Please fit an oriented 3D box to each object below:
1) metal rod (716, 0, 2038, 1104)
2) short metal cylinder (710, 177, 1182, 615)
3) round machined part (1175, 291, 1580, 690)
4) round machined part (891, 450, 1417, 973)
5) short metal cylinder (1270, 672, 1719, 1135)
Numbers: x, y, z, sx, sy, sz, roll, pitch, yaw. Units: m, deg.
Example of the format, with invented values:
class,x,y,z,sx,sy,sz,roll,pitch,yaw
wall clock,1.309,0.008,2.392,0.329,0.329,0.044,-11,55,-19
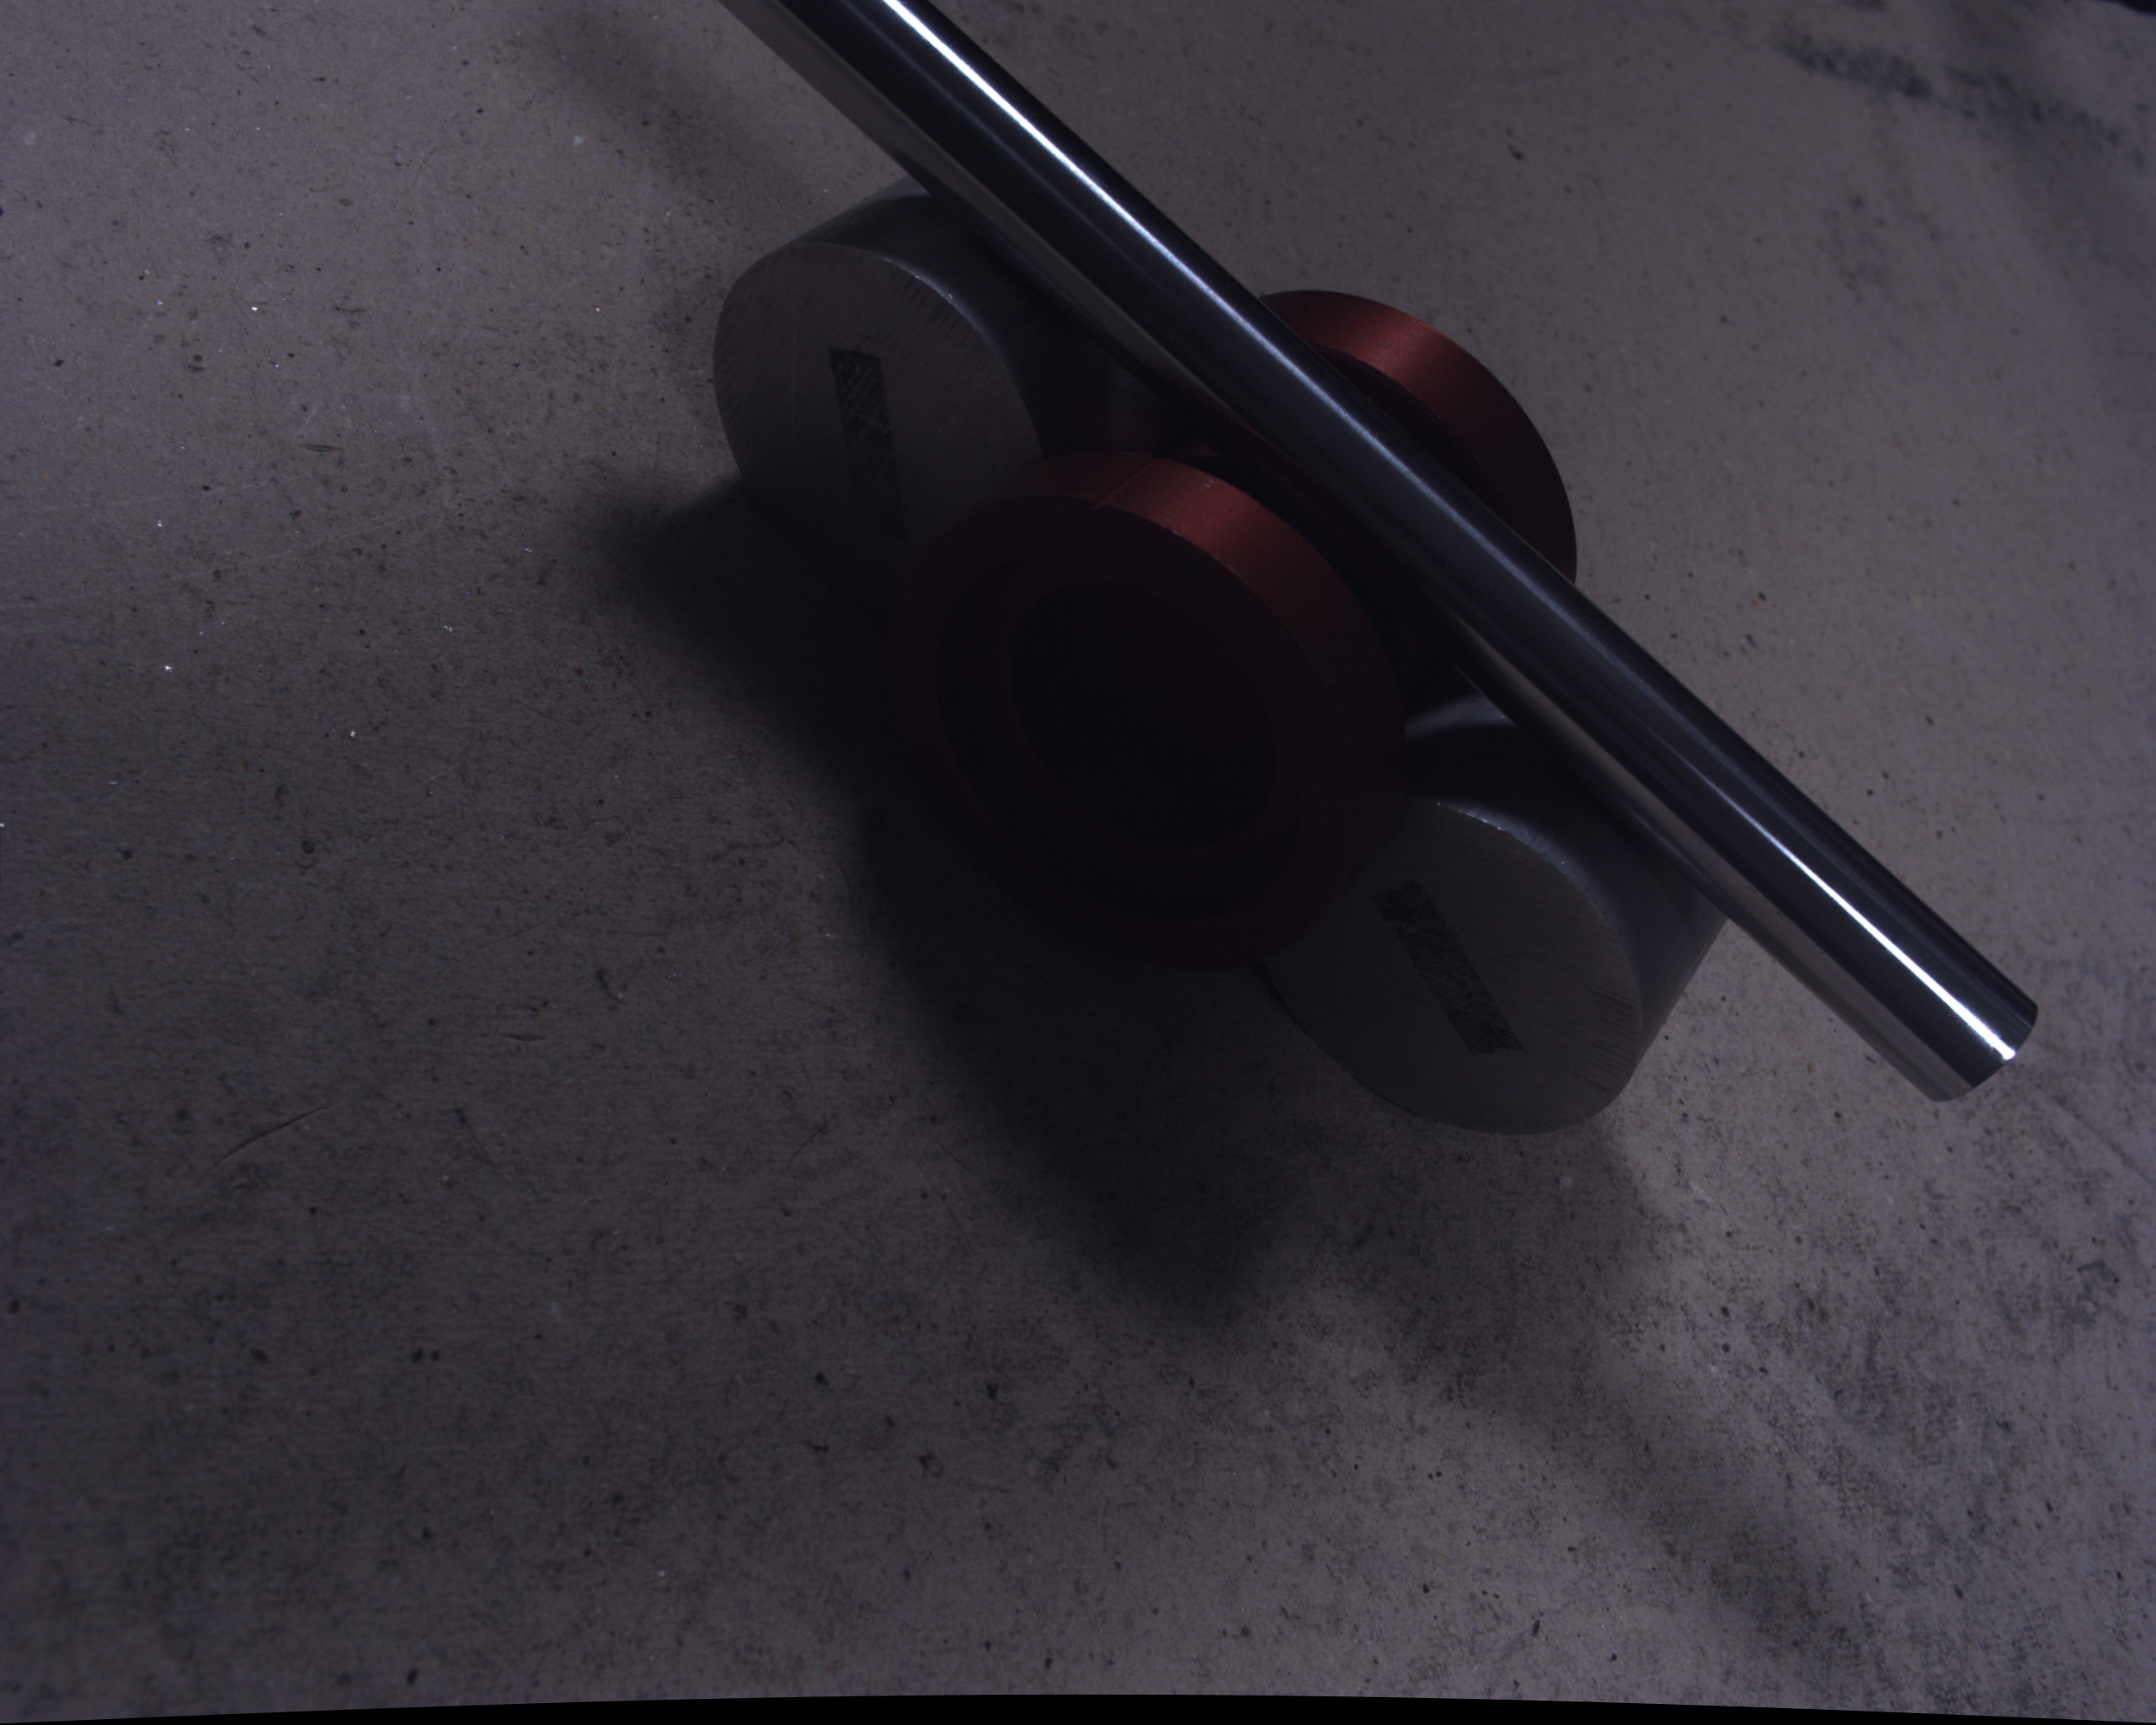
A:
class,x,y,z,sx,sy,sz,roll,pitch,yaw
metal rod,0.050,-0.067,0.373,0.300,0.025,0.025,42,51,0
short metal cylinder,-0.025,-0.094,0.415,0.080,0.080,0.050,43,51,1
round machined part,0.047,-0.062,0.424,0.098,0.098,0.042,43,55,1
round machined part,0.017,-0.031,0.387,0.098,0.097,0.042,43,47,1
short metal cylinder,0.082,0.007,0.412,0.080,0.080,0.050,43,51,1
